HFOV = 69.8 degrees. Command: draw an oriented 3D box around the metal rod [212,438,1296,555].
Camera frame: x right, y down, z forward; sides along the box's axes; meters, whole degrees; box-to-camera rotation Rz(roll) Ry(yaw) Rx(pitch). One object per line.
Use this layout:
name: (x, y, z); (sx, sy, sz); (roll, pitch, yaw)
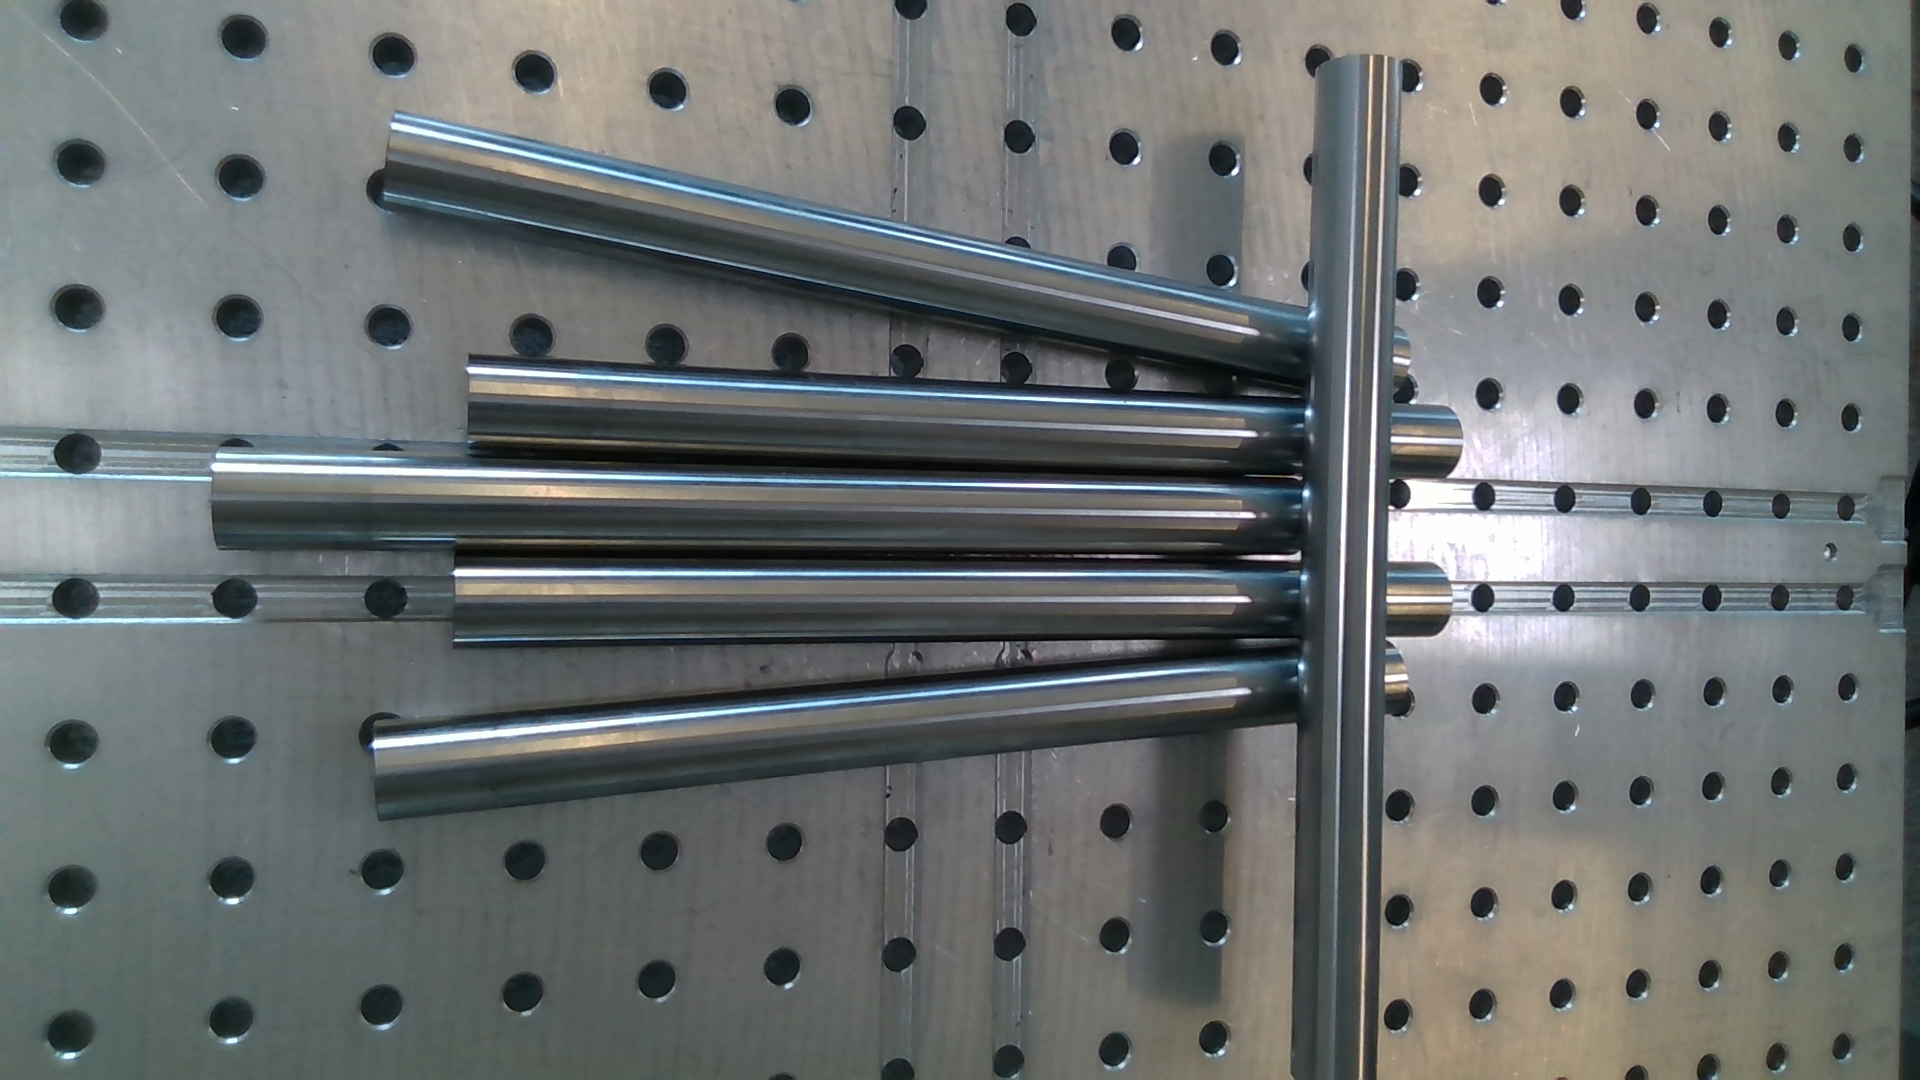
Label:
metal rod: (-0.037, -0.010, 0.383); (0.300, 0.025, 0.025); (1, 90, -20)

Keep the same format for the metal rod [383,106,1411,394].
metal rod: (-0.002, -0.077, 0.394); (0.300, 0.025, 0.025); (8, 87, -20)

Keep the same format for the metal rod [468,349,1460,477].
metal rod: (0.016, -0.035, 0.402); (0.300, 0.025, 0.025); (1, 90, -20)

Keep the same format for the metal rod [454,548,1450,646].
metal rod: (0.012, 0.017, 0.402); (0.300, 0.025, 0.025); (1, 90, -20)

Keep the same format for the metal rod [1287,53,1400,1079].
metal rod: (0.115, 0.008, 0.412); (0.025, 0.025, 0.300); (2, 90, -20)

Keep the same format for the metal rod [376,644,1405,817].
metal rod: (-0.004, 0.050, 0.395); (0.300, 0.025, 0.025); (-3, 91, -20)
